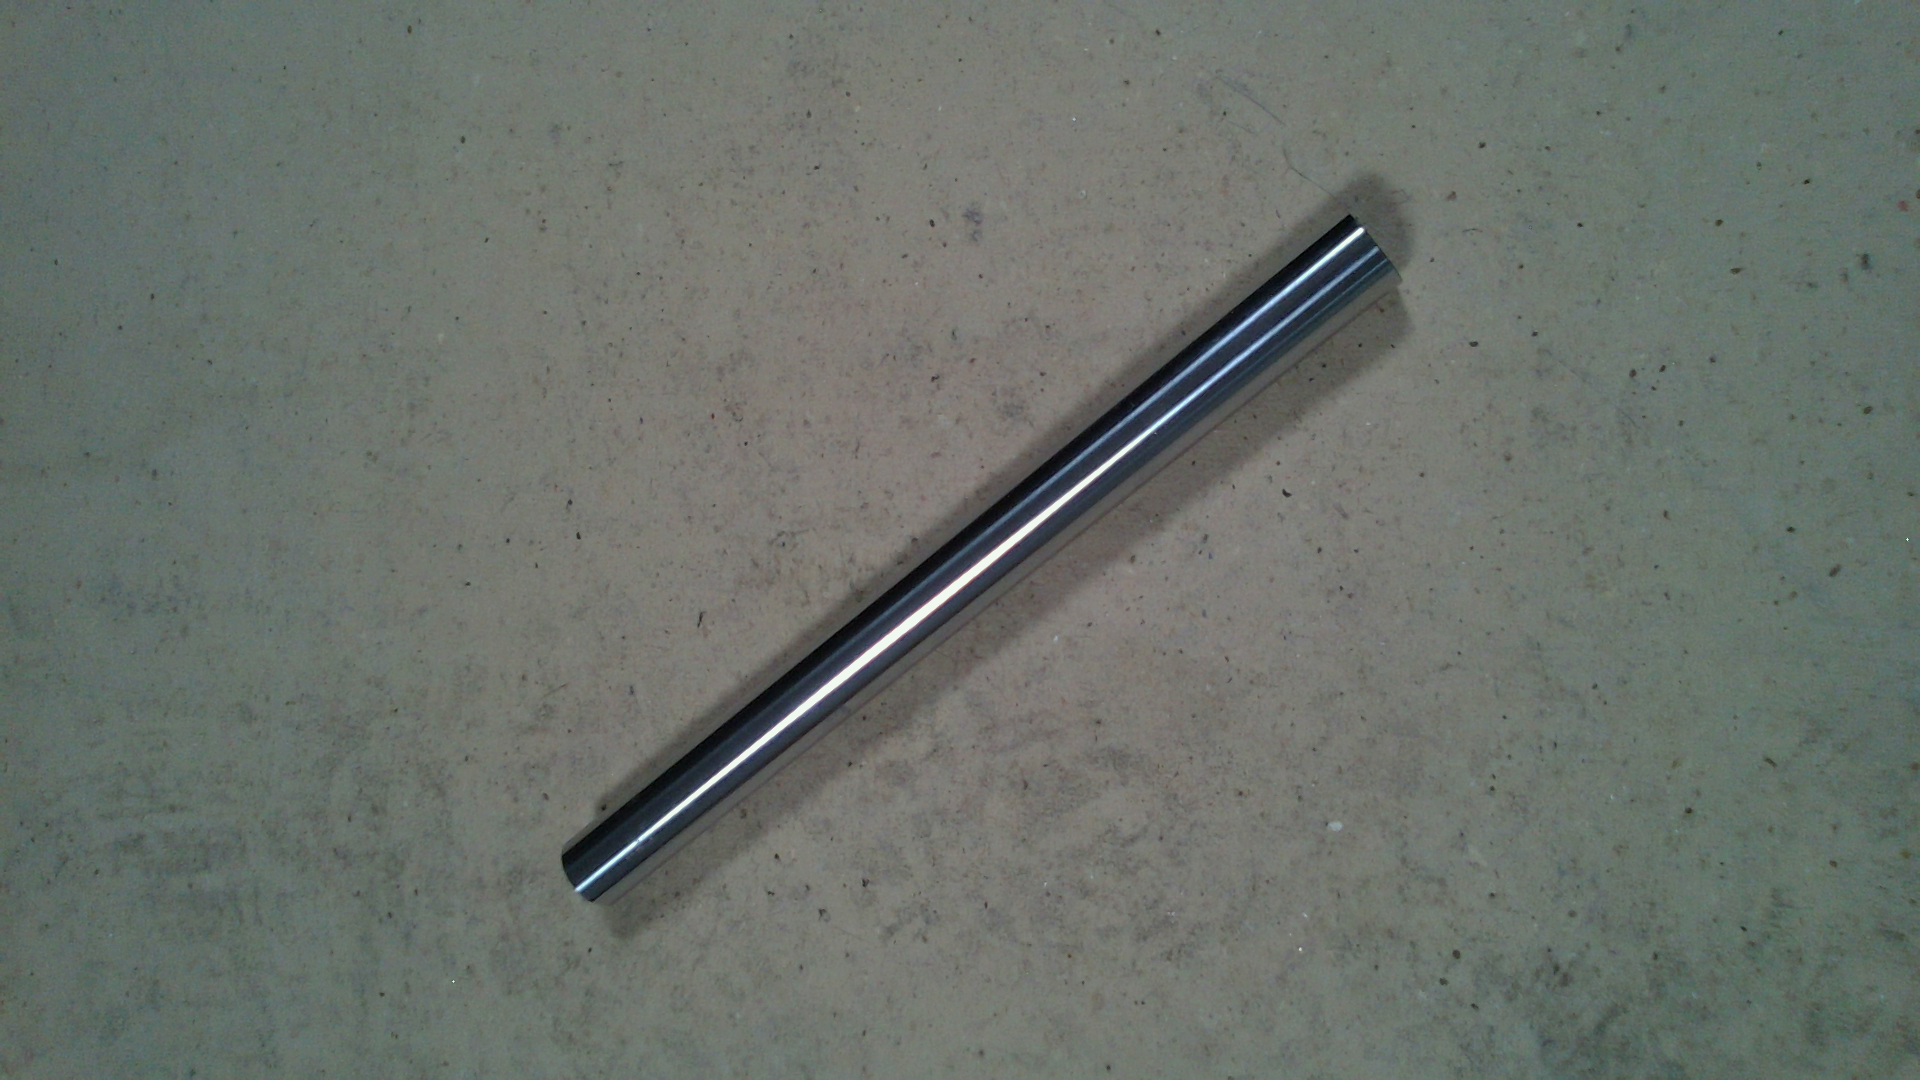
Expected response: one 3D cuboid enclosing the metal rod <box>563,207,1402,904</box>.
[{"bbox_3d":[-0.005,0.014,0.398,0.299,0.025,0.025,-39,78,16],"label":"metal rod"}]
